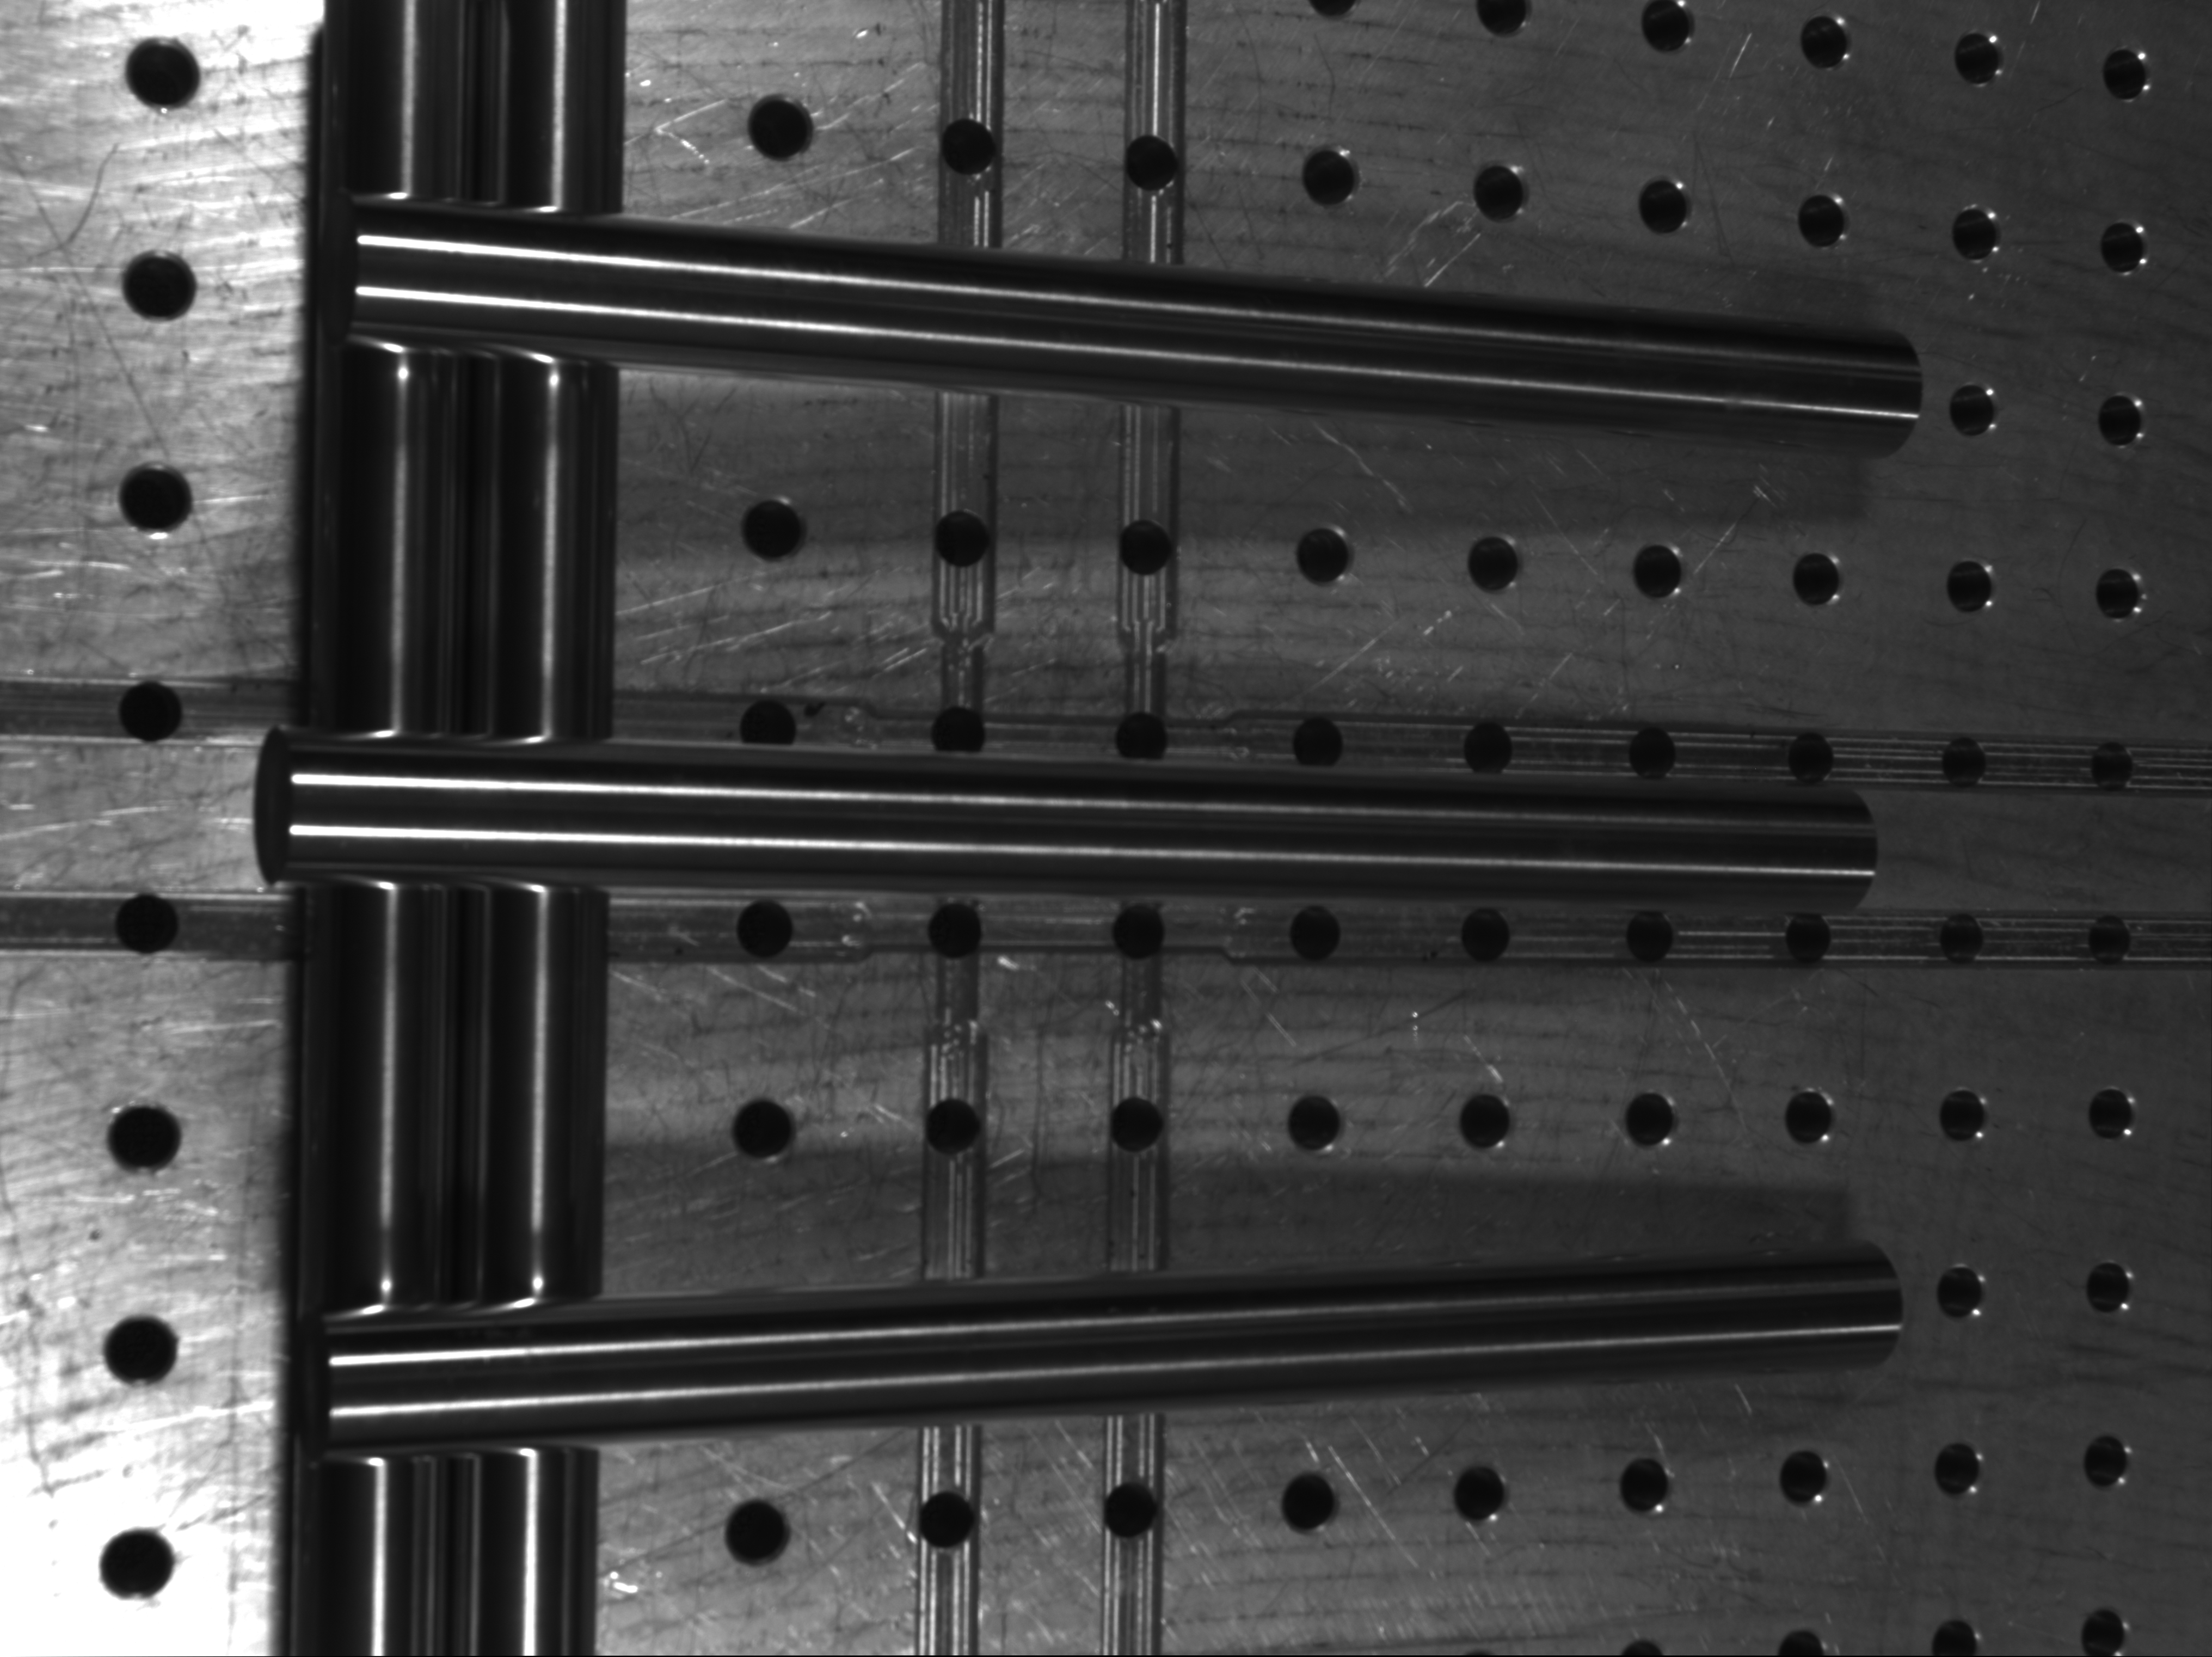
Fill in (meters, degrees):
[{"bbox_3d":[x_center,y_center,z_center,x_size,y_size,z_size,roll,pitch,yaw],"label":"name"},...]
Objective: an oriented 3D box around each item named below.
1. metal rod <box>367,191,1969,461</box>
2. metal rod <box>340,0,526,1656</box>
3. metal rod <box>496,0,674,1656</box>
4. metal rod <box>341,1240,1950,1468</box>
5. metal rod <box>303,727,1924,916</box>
[{"bbox_3d":[0.023,-0.085,0.639,0.301,0.025,0.025,1,90,-26],"label":"metal rod"},{"bbox_3d":[-0.111,0.012,0.605,0.025,0.025,0.300,1,90,-20],"label":"metal rod"},{"bbox_3d":[-0.088,0.005,0.613,0.025,0.025,0.300,1,90,-20],"label":"metal rod"},{"bbox_3d":[0.019,0.089,0.637,0.301,0.025,0.025,1,90,-26],"label":"metal rod"},{"bbox_3d":[0.013,0.001,0.634,0.301,0.025,0.025,2,89,-26],"label":"metal rod"}]
